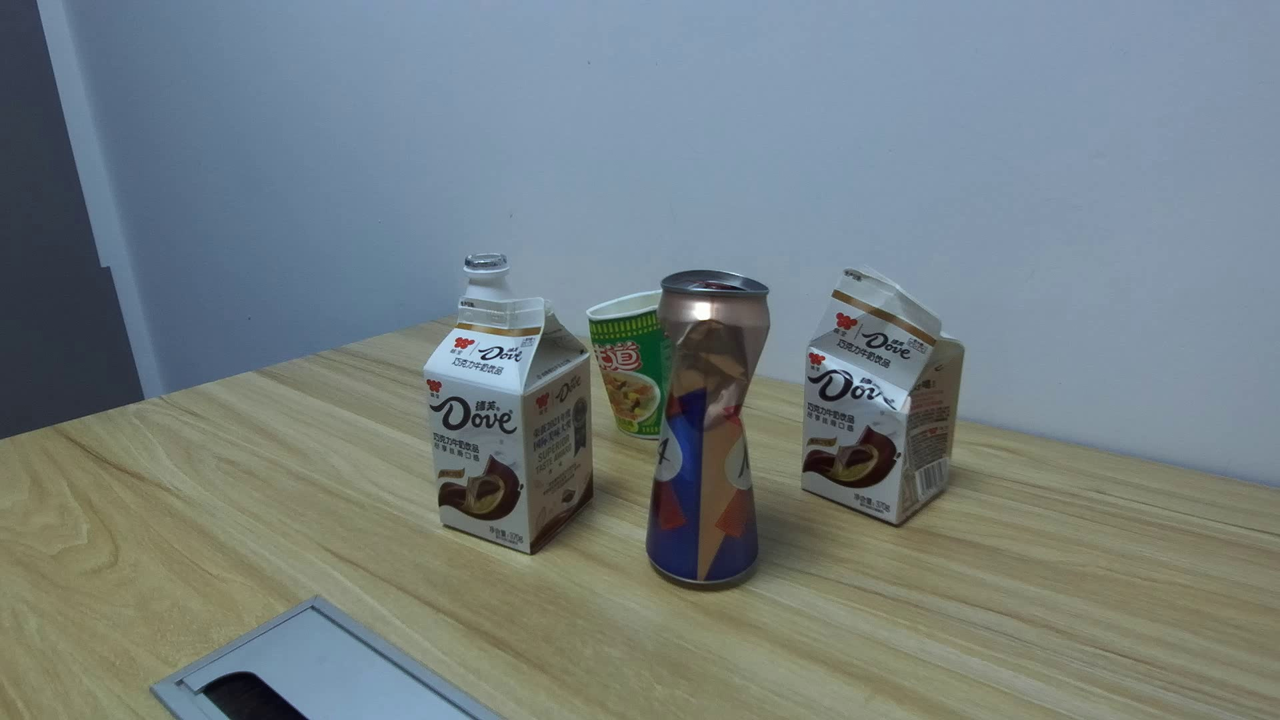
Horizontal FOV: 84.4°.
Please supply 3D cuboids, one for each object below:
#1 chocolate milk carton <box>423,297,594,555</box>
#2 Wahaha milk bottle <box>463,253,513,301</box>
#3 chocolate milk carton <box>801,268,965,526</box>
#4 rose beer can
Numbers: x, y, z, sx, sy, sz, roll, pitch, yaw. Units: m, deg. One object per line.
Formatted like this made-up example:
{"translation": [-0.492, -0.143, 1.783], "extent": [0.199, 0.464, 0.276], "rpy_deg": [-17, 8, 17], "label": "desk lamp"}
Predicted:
{"translation": [-0.078, 0.031, 0.435], "extent": [0.075, 0.148, 0.074], "rpy_deg": [11, 24, 26], "label": "chocolate milk carton"}
{"translation": [-0.115, -0.014, 0.566], "extent": [0.056, 0.148, 0.056], "rpy_deg": [1, 27, 0], "label": "Wahaha milk bottle"}
{"translation": [0.157, 0.017, 0.457], "extent": [0.074, 0.155, 0.076], "rpy_deg": [-21, 28, -40], "label": "chocolate milk carton"}
{"translation": [0.038, 0.039, 0.383], "extent": [0.065, 0.167, 0.076], "rpy_deg": [7, 18, 13], "label": "rose beer can"}
